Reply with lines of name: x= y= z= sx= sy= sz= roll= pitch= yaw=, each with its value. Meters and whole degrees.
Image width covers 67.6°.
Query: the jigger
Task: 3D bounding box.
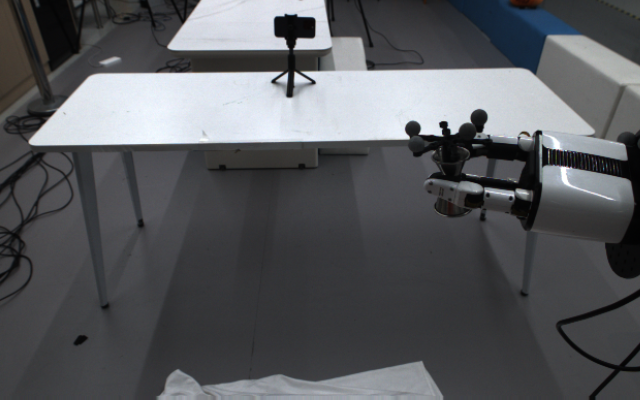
jigger: x=0.146 y=-0.021 z=0.537 sx=0.043 sy=0.071 sz=0.043 roll=-10 pitch=32 yaw=6
